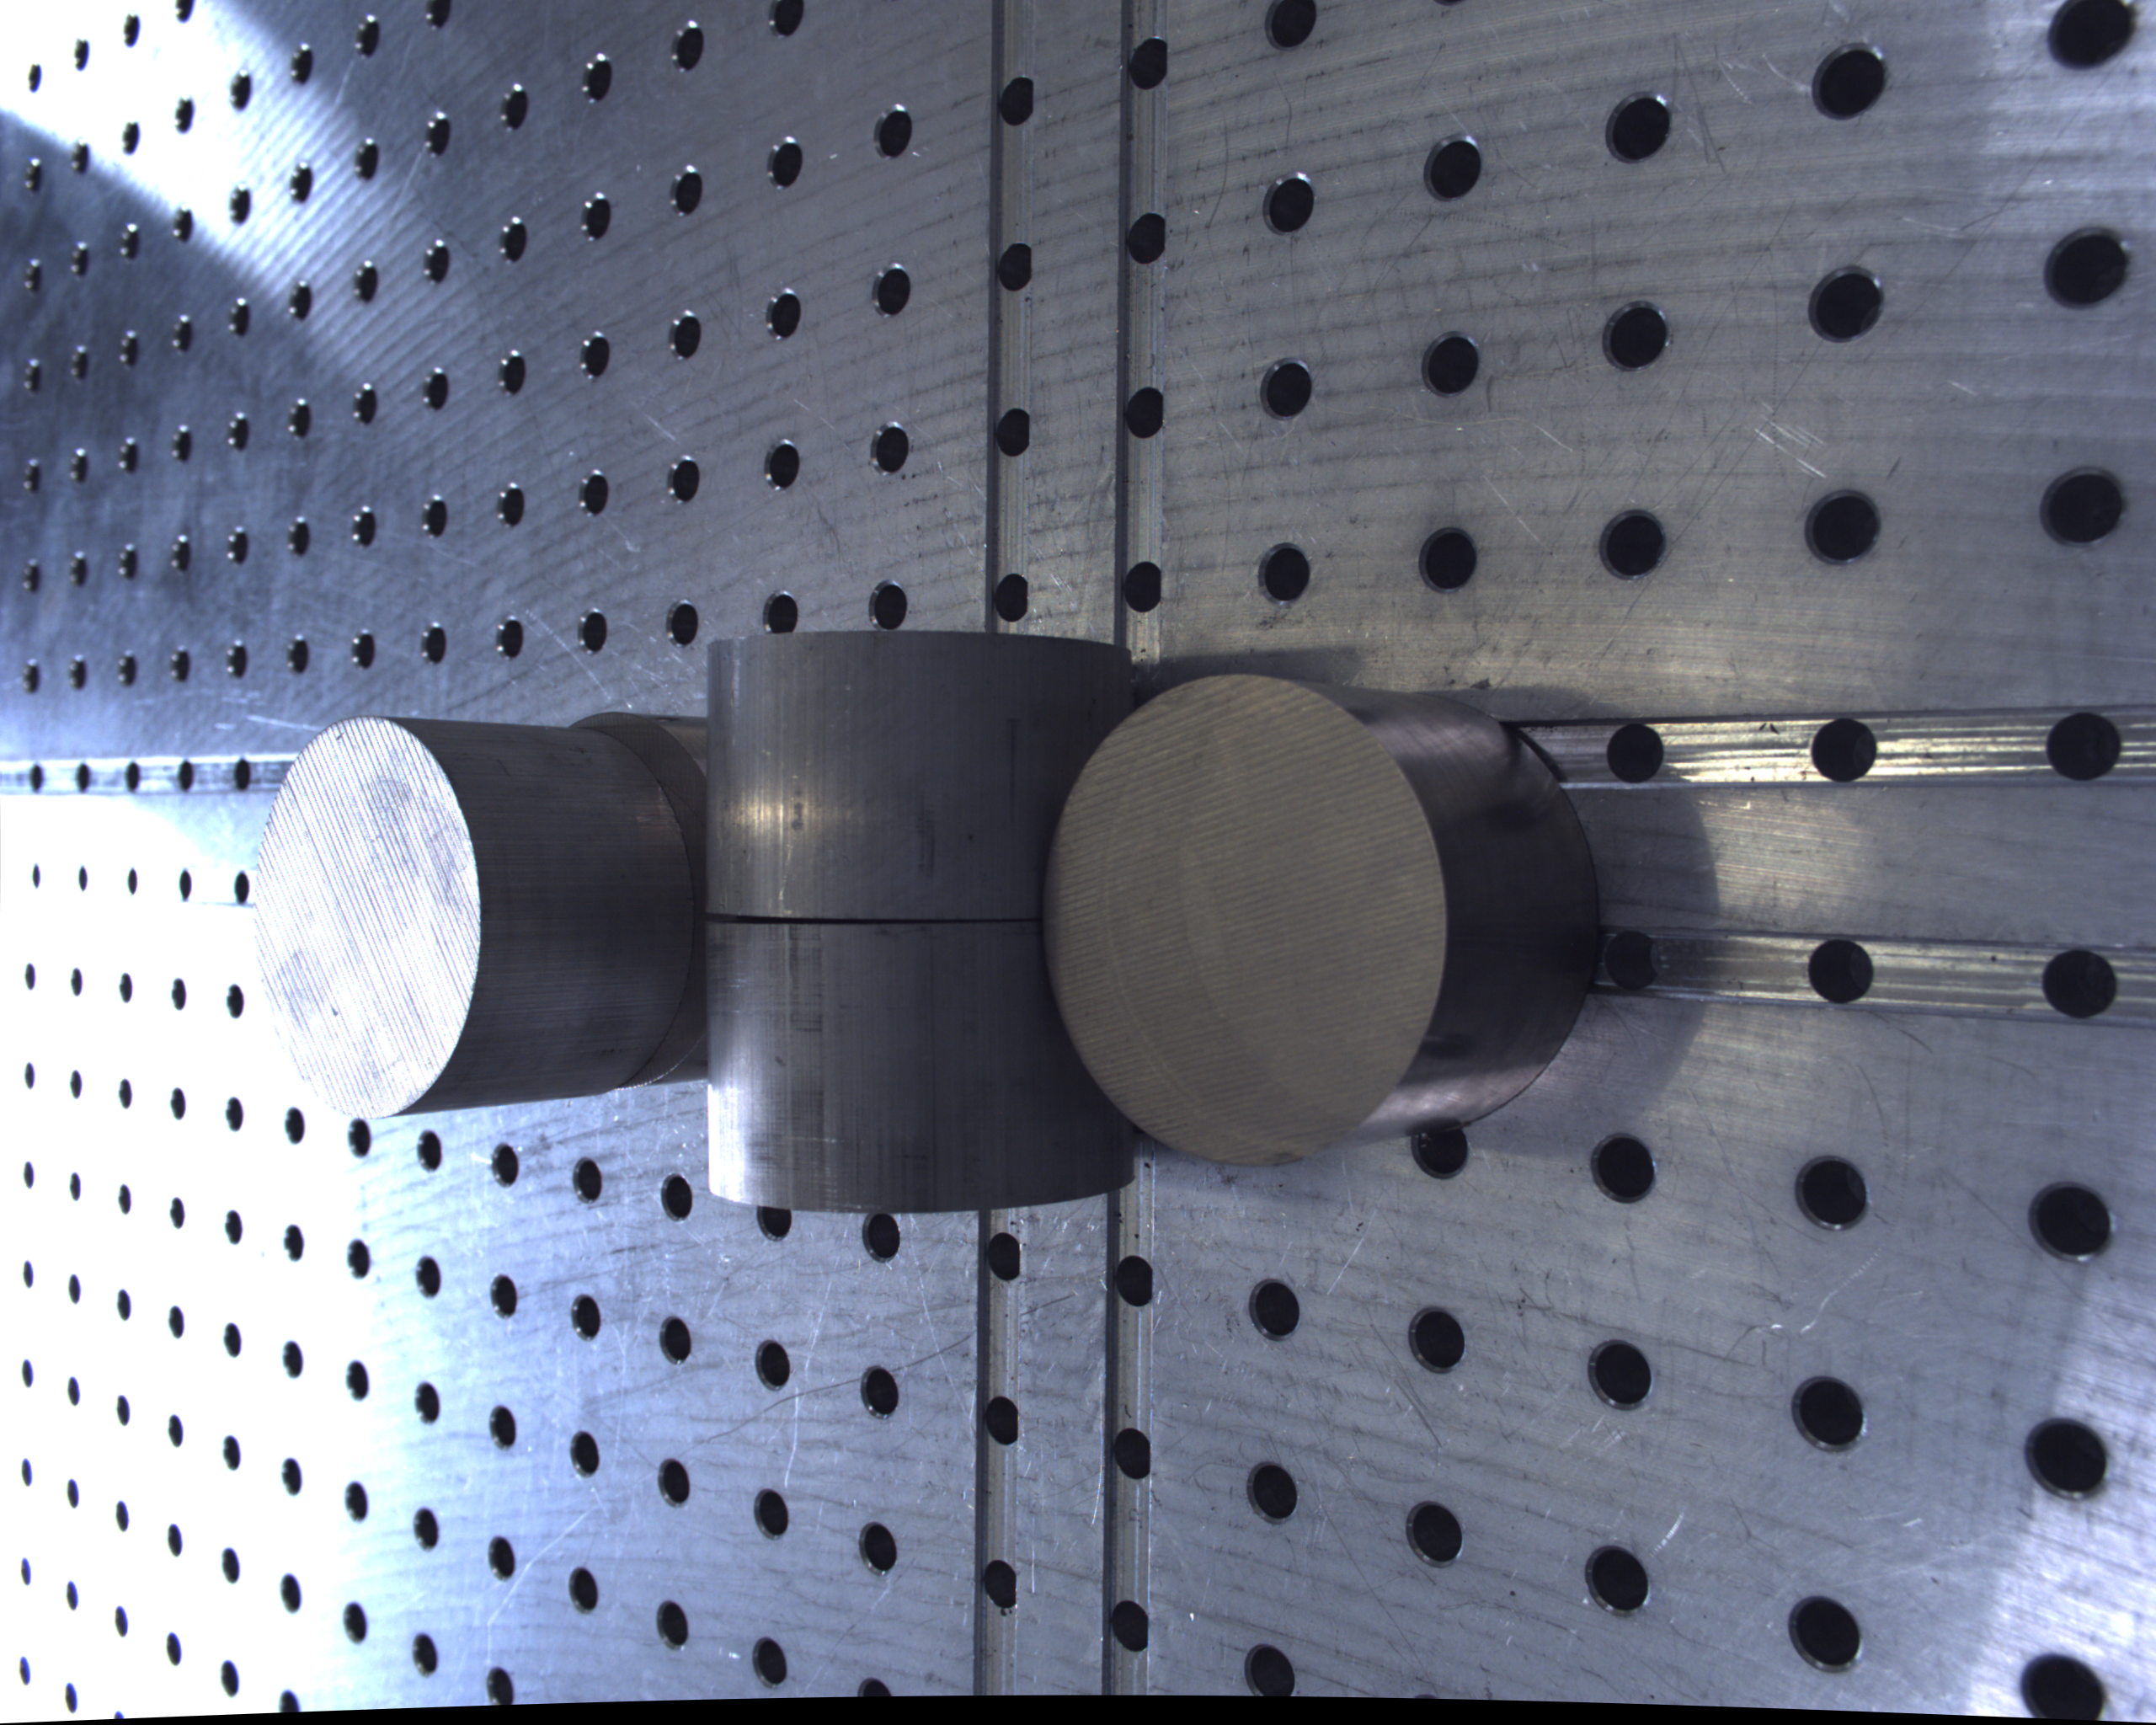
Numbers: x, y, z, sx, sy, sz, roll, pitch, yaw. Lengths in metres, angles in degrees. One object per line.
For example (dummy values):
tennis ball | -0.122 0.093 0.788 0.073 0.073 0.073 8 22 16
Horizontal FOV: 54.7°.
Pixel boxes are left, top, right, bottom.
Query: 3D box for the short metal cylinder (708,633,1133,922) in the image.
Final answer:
short metal cylinder | -0.030 -0.016 0.399 0.080 0.081 0.050 1 92 40

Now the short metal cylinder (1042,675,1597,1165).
short metal cylinder | 0.041 0.009 0.359 0.080 0.050 0.079 0 90 39

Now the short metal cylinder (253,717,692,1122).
short metal cylinder | -0.125 0.011 0.429 0.080 0.050 0.079 0 90 40

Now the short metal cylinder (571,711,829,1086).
short metal cylinder | -0.082 0.008 0.461 0.080 0.050 0.079 0 90 39

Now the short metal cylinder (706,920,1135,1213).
short metal cylinder | -0.030 0.036 0.398 0.080 0.081 0.050 -1 89 40
